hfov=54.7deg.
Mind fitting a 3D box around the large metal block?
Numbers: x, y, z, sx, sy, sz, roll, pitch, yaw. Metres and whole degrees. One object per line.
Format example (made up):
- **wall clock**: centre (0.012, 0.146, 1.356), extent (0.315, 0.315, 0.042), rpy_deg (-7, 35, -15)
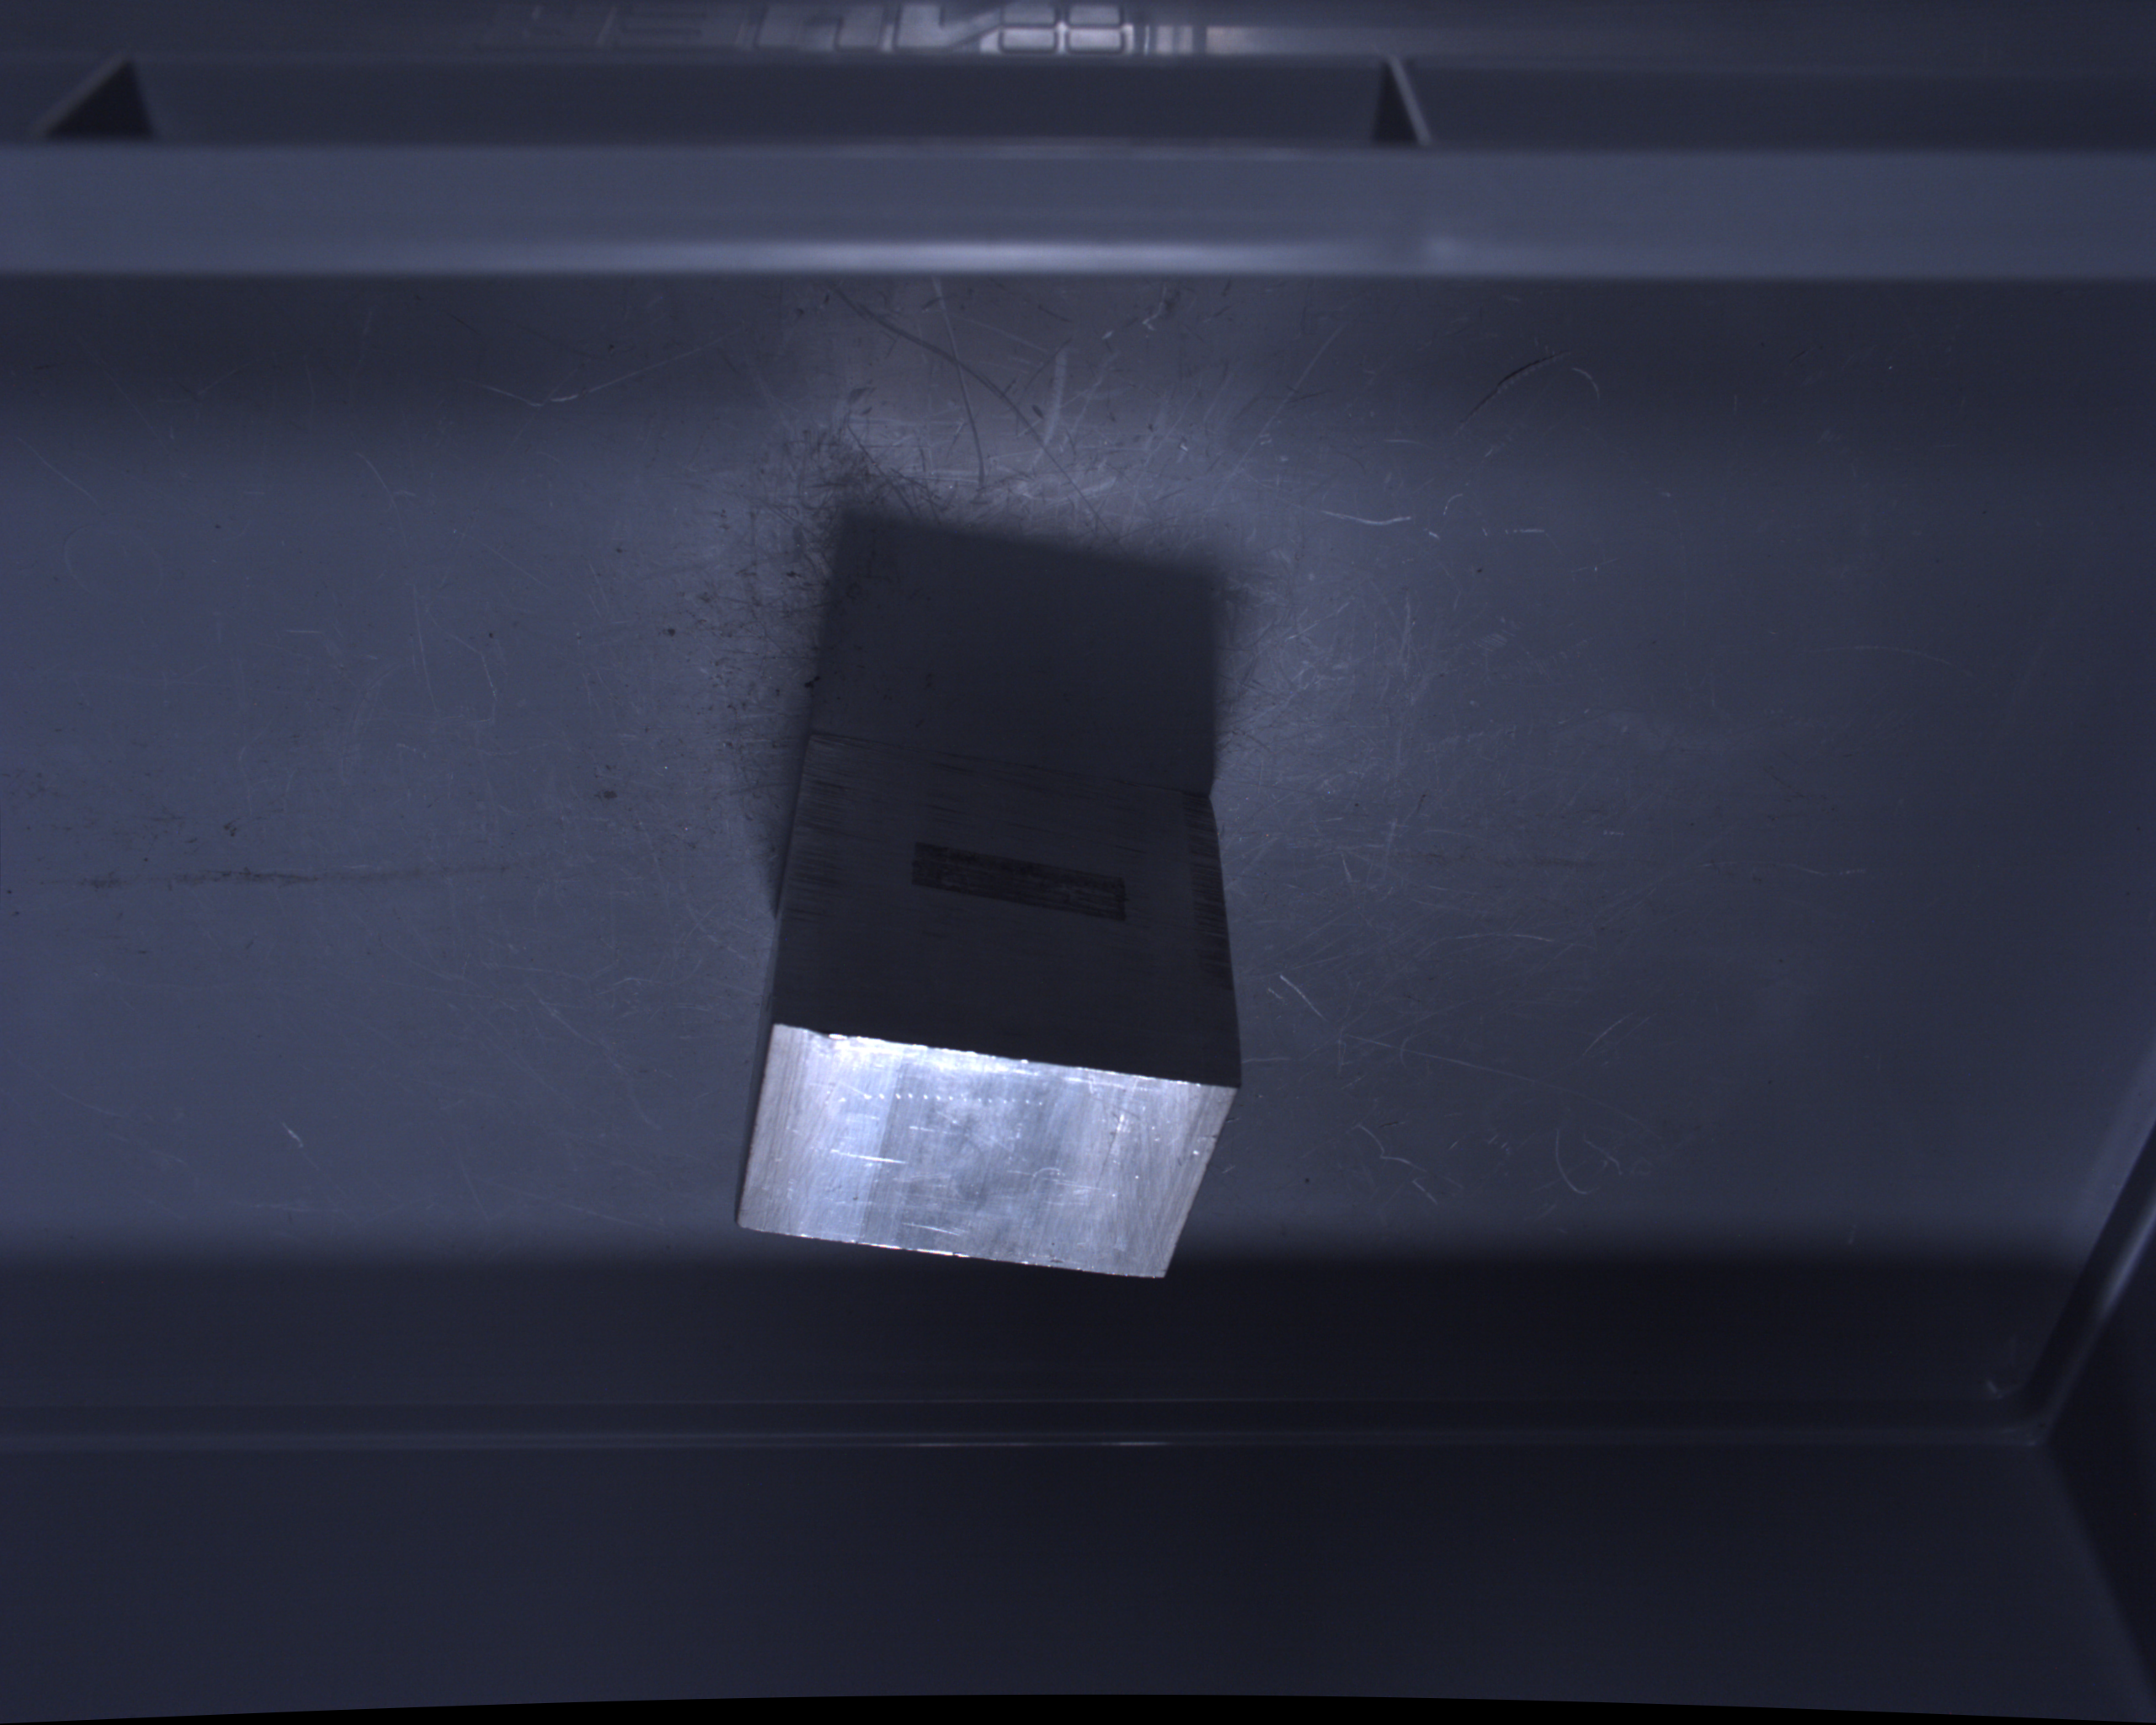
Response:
- **large metal block**: centre (-0.017, 0.026, 0.392), extent (0.081, 0.080, 0.050), rpy_deg (9, 129, -8)
